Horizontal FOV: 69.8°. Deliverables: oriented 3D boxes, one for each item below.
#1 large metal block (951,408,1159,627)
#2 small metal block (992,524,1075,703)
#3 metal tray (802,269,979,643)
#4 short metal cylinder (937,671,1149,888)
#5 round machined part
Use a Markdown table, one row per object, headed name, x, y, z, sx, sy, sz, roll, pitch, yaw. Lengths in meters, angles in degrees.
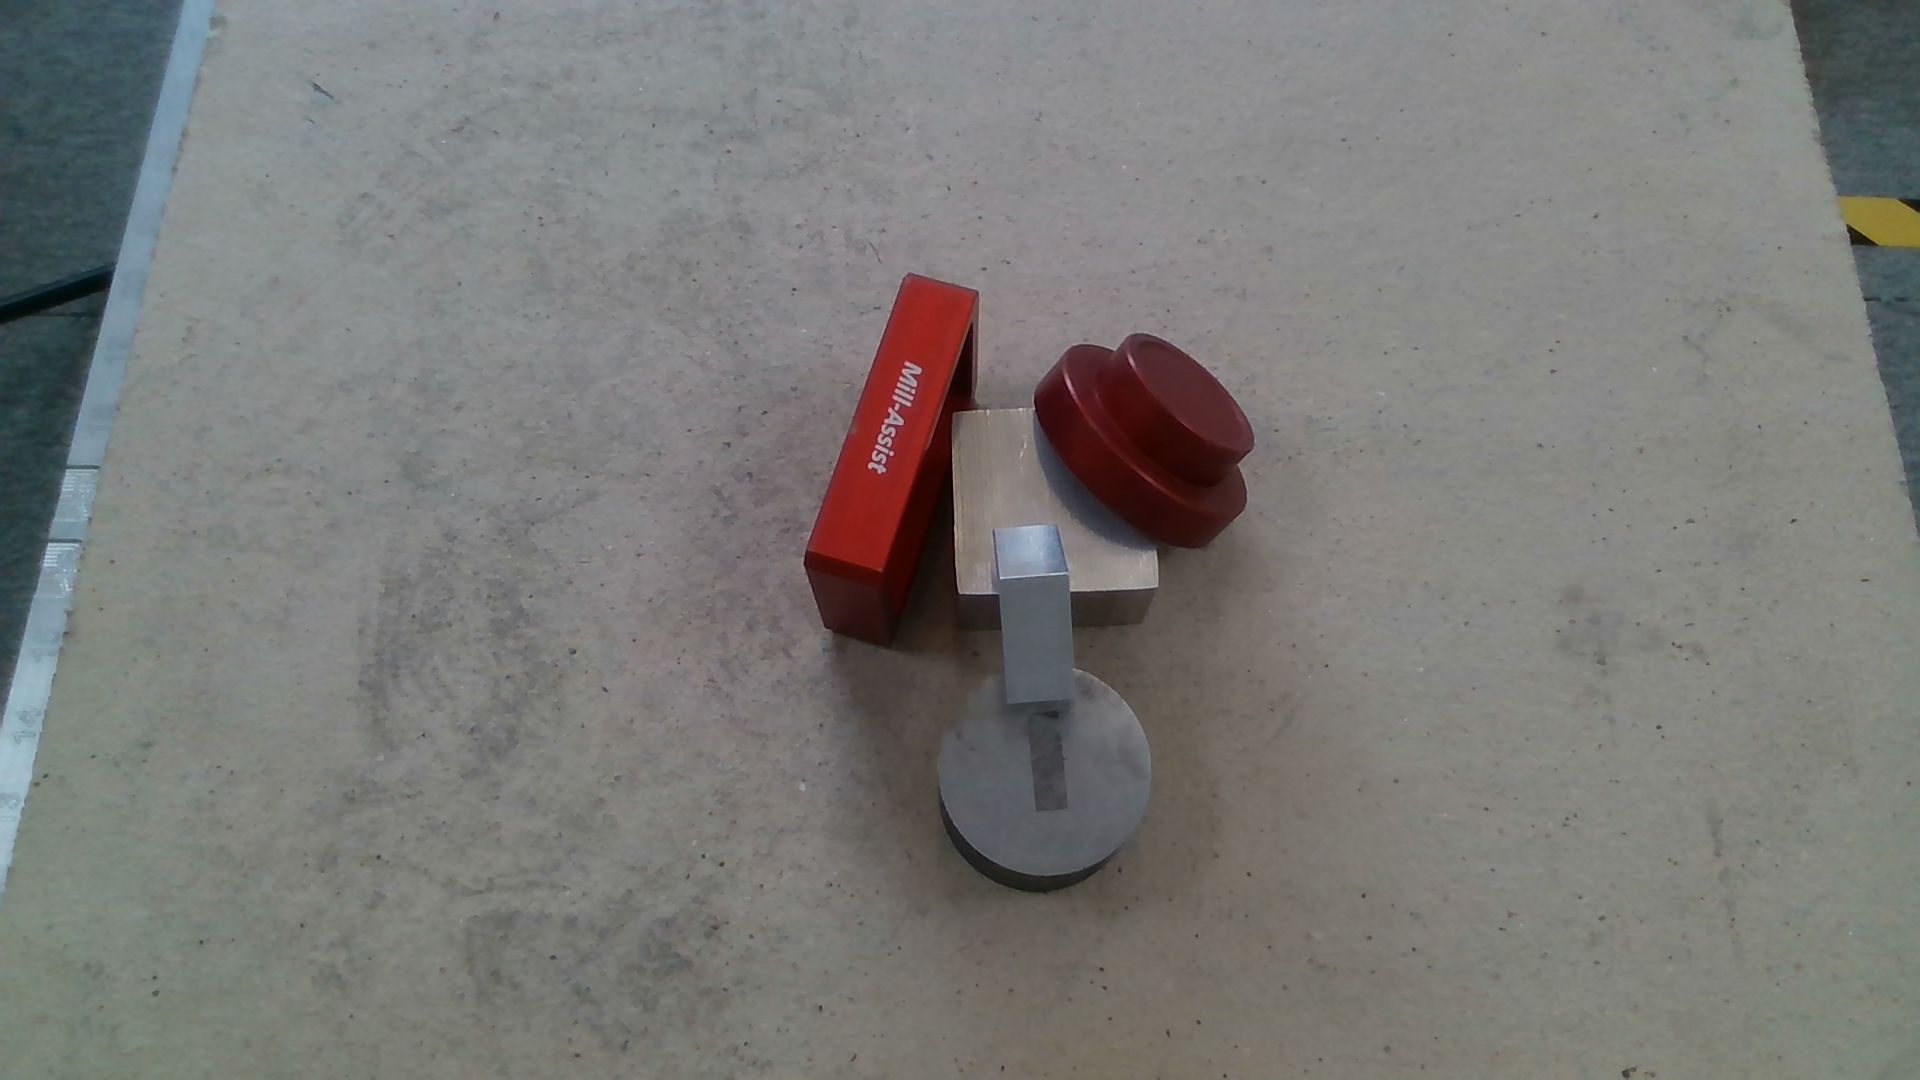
| name | x | y | z | sx | sy | sz | roll | pitch | yaw |
| --- | --- | --- | --- | --- | --- | --- | --- | --- | --- |
| large metal block | 0.037 | -0.009 | 0.580 | 0.080 | 0.050 | 0.080 | -2 | 70 | -1 |
| small metal block | 0.027 | 0.026 | 0.517 | 0.025 | 0.050 | 0.050 | -5 | 112 | 1 |
| metal tray | -0.025 | -0.032 | 0.565 | 0.030 | 0.090 | 0.130 | 16 | 71 | 6 |
| short metal cylinder | 0.031 | 0.094 | 0.543 | 0.080 | 0.050 | 0.080 | 0 | 70 | 0 |
| round machined part | 0.081 | -0.048 | 0.566 | 0.098 | 0.098 | 0.042 | 52 | 122 | 16 |
